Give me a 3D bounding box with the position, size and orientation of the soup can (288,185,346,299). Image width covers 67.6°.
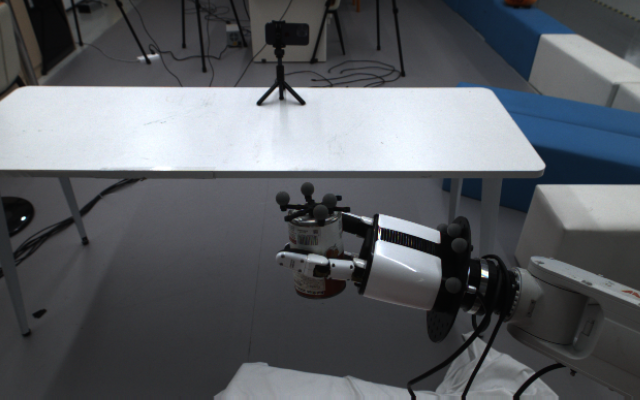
[{"bbox_3d":[-0.002,0.062,0.599,0.067,0.101,0.067,-4,21,1],"label":"soup can"}]
